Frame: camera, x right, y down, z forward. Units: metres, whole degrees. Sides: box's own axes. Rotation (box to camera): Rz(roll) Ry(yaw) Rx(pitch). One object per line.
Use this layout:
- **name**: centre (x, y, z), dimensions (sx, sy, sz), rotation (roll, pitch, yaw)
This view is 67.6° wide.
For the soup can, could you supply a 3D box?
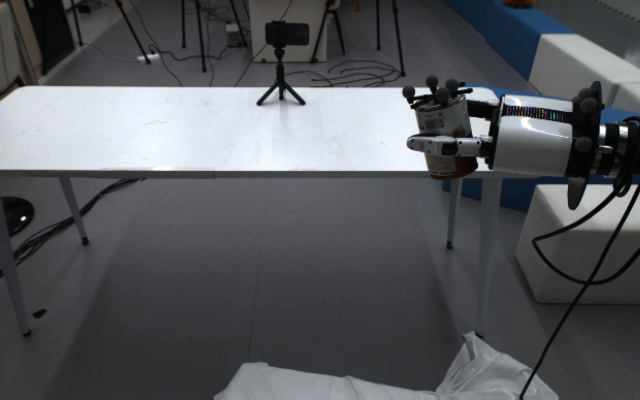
- **soup can**: centre (0.170, -0.087, 0.649), dimensions (0.067, 0.101, 0.067), rotation (-16, 23, 7)
